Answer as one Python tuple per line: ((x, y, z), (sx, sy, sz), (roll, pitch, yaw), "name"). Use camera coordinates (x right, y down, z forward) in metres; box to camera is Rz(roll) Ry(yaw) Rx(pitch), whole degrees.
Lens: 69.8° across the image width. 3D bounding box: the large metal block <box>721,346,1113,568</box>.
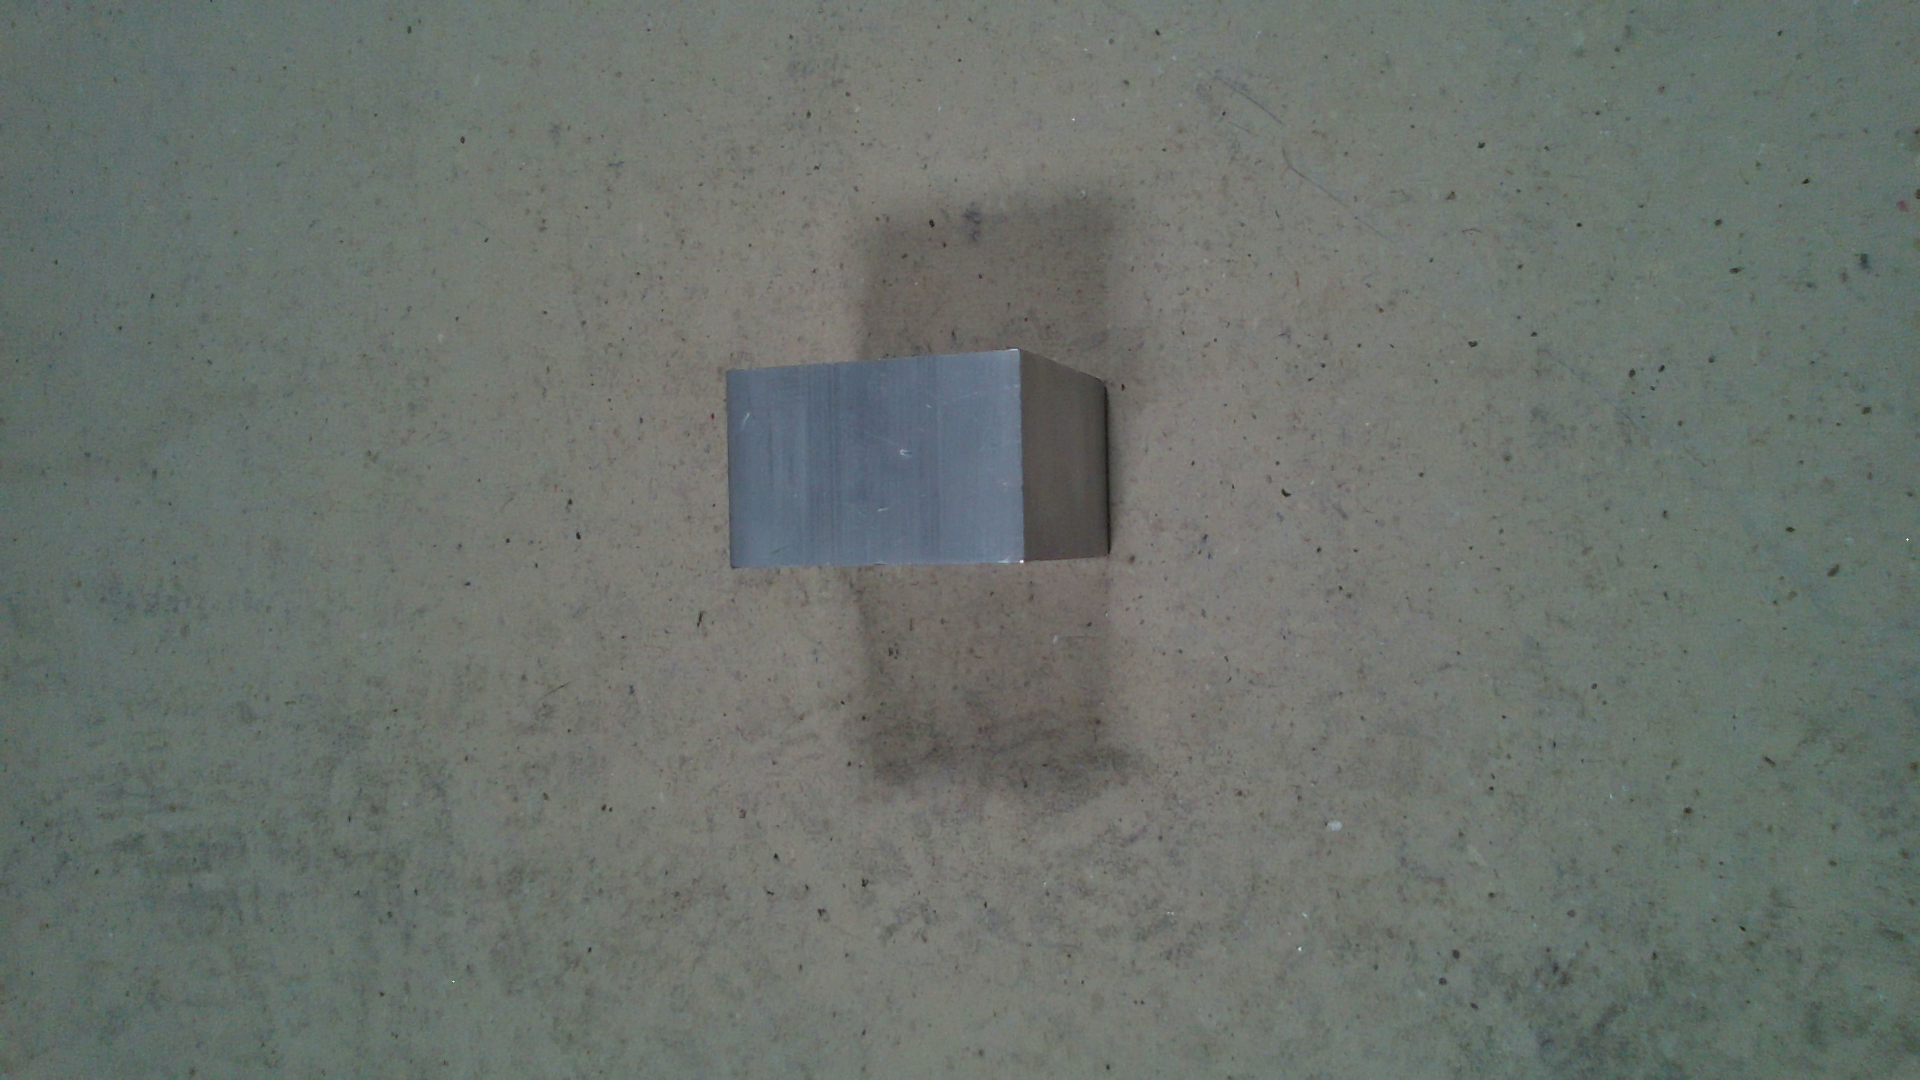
((-0.008, -0.019, 0.370), (0.080, 0.080, 0.050), (-2, 90, 20), "large metal block")
